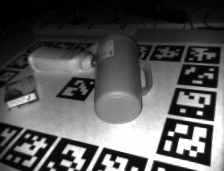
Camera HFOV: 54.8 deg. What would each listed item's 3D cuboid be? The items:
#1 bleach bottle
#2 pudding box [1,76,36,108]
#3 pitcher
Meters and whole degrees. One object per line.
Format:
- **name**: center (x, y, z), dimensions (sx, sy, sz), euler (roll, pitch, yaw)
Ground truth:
- **bleach bottle**: center (-0.177, -0.100, 0.768), dimensions (0.248, 0.068, 0.102), euler (5, 47, 19)
- **pudding box**: center (-0.294, 0.012, 0.679), dimensions (0.090, 0.039, 0.112), euler (-18, 41, -14)
- **pitcher**: center (0.016, -0.018, 0.587), dimensions (0.190, 0.133, 0.241), euler (15, 41, -18)
